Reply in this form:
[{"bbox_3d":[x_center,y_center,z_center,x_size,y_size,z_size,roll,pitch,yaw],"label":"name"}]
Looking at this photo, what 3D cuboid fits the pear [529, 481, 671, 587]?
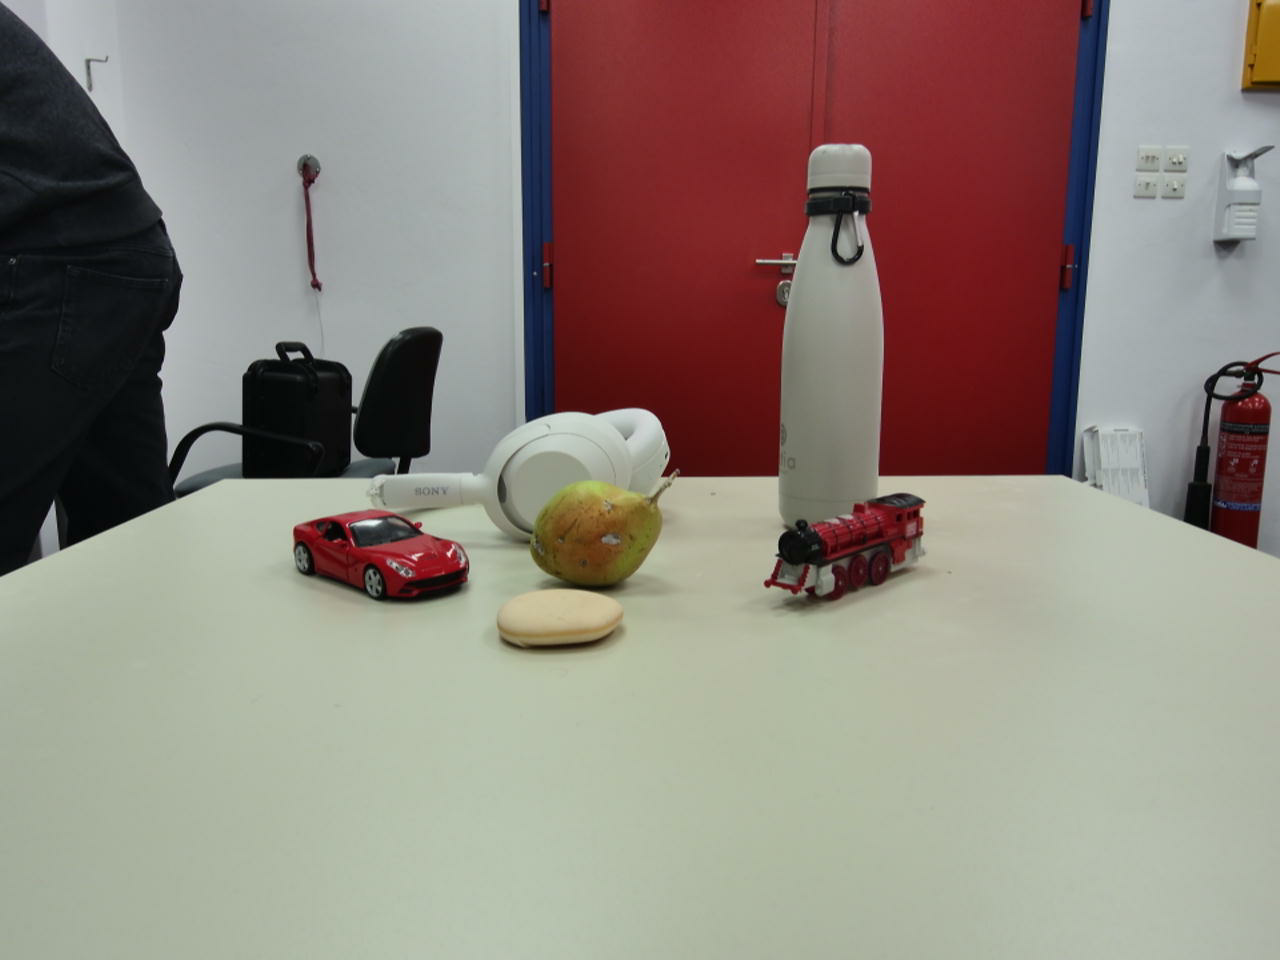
[{"bbox_3d":[-0.026,0.029,0.598,0.068,0.069,0.070,-7,10,-39],"label":"pear"}]
